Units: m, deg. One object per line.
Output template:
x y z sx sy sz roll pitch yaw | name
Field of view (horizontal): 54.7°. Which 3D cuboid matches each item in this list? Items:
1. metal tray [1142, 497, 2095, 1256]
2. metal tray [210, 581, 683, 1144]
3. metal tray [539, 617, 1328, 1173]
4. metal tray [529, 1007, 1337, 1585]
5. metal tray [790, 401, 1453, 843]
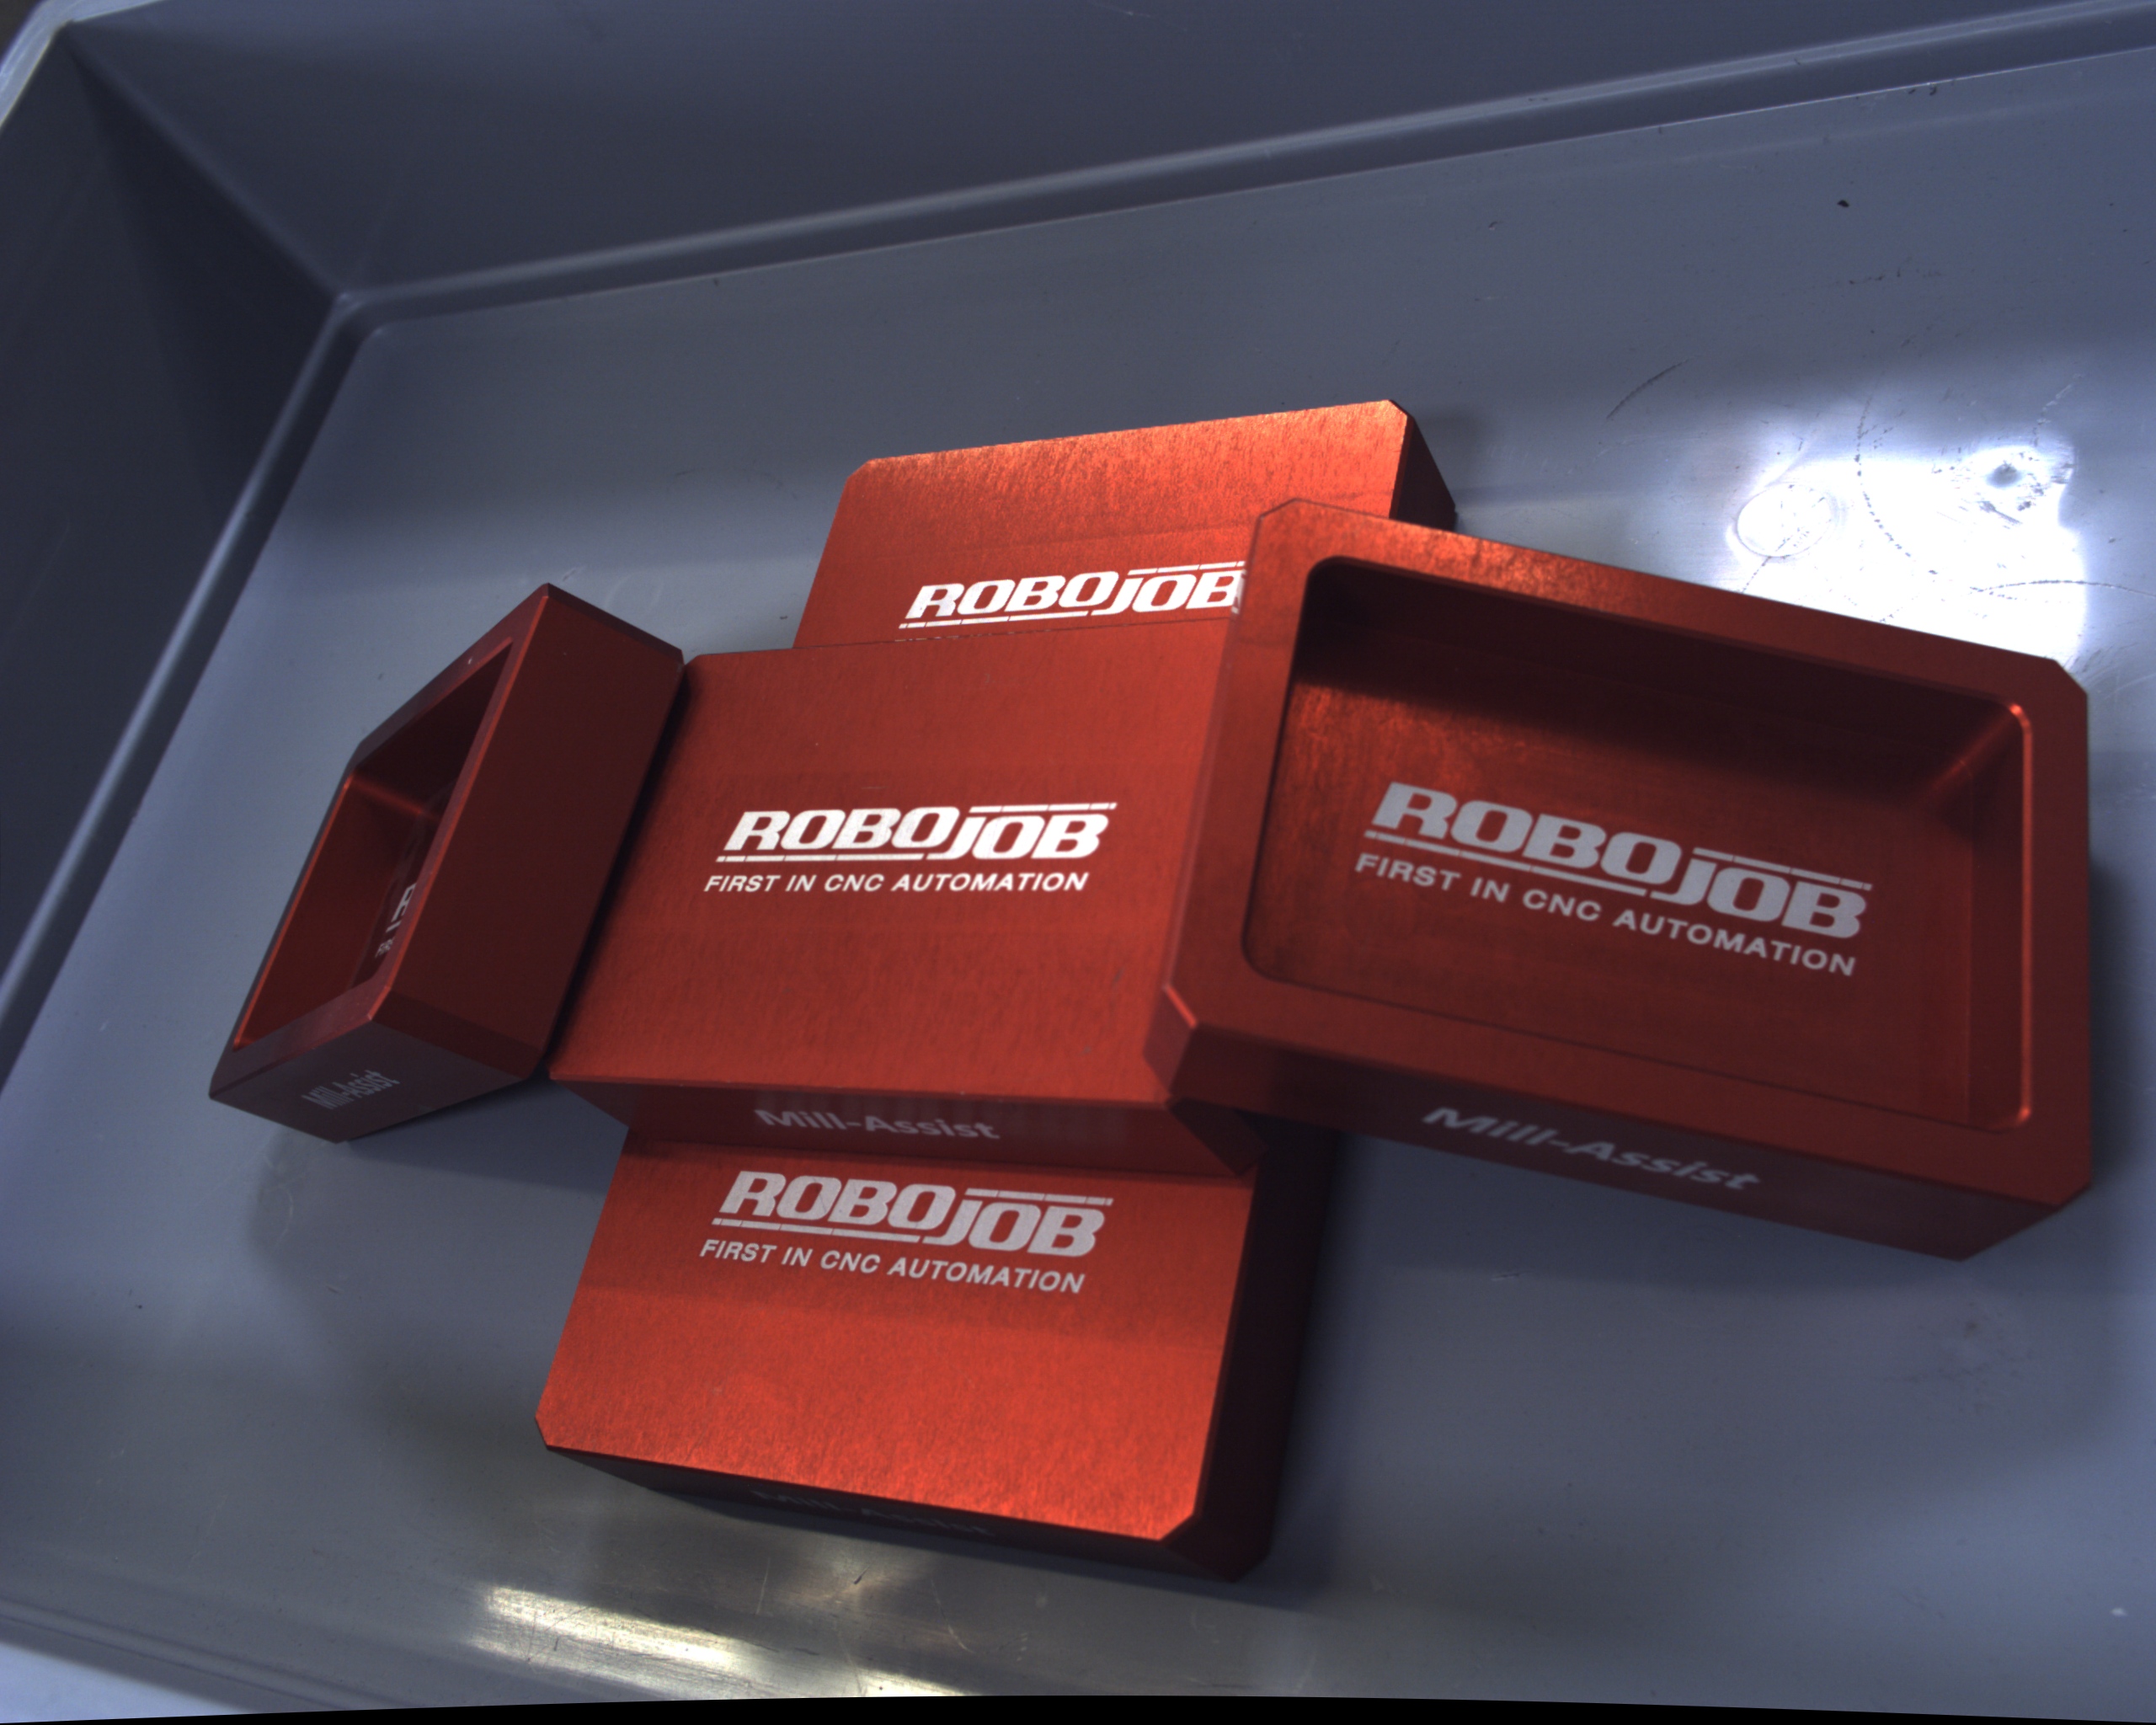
0.082 0.001 0.317 0.131 0.030 0.090 12 65 1 | metal tray
-0.133 0.005 0.429 0.130 0.030 0.090 -20 49 53 | metal tray
-0.024 0.005 0.372 0.130 0.030 0.090 -1 61 27 | metal tray
-0.025 0.070 0.370 0.130 0.030 0.090 0 61 27 | metal tray
0.004 -0.044 0.424 0.130 0.030 0.090 0 61 27 | metal tray
